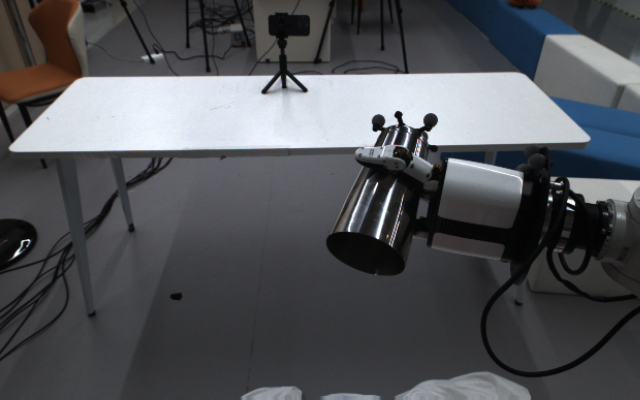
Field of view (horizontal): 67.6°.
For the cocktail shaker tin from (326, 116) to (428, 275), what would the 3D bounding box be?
[{"bbox_3d":[0.078,-0.008,0.575,0.093,0.093,0.170,14,57,16],"label":"cocktail shaker tin"}]
